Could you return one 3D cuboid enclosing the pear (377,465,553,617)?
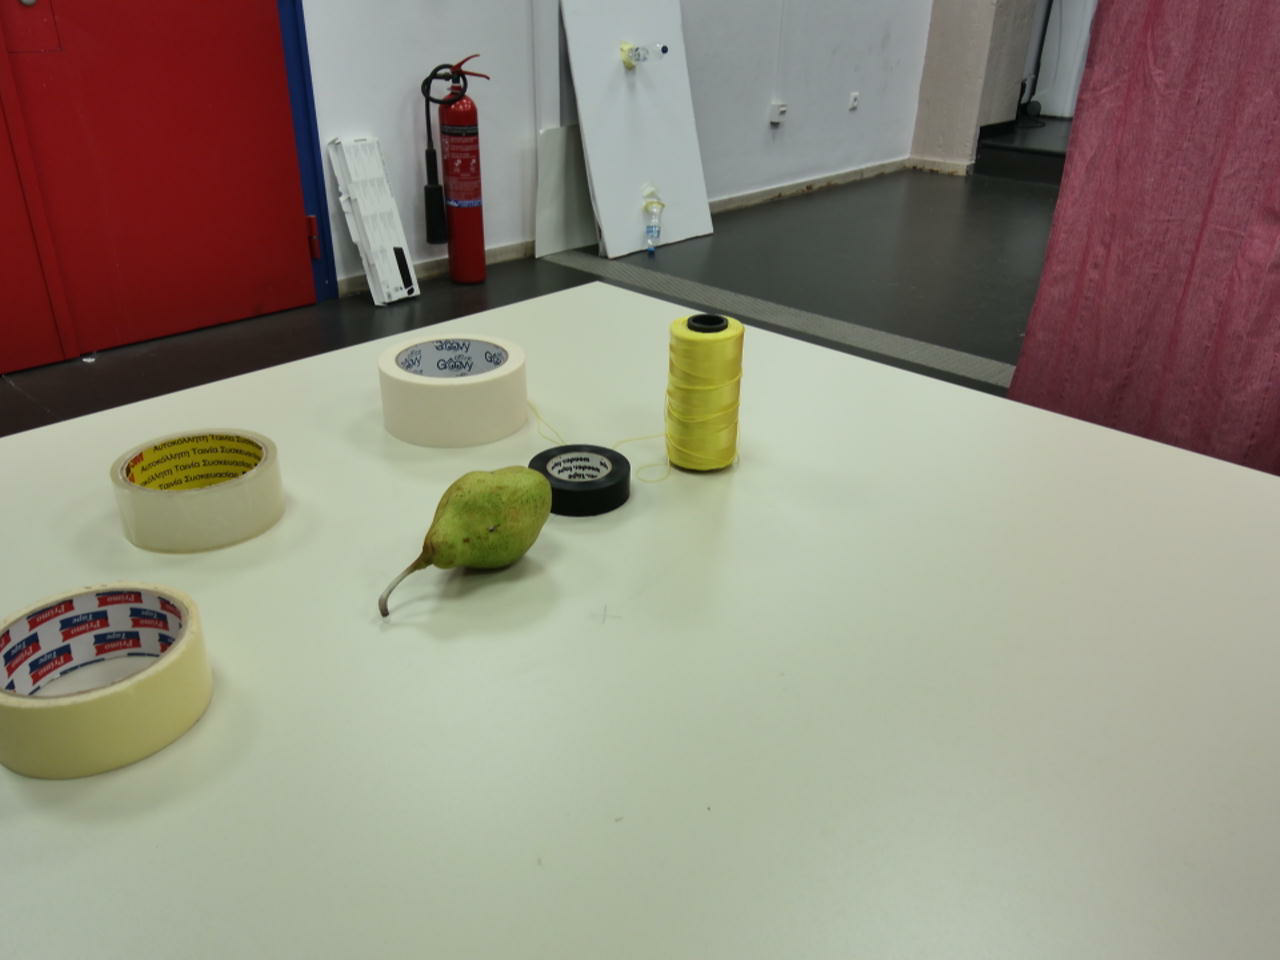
[{"bbox_3d":[-0.100,0.026,0.550,0.111,0.056,0.056,-15,29,-30],"label":"pear"}]
